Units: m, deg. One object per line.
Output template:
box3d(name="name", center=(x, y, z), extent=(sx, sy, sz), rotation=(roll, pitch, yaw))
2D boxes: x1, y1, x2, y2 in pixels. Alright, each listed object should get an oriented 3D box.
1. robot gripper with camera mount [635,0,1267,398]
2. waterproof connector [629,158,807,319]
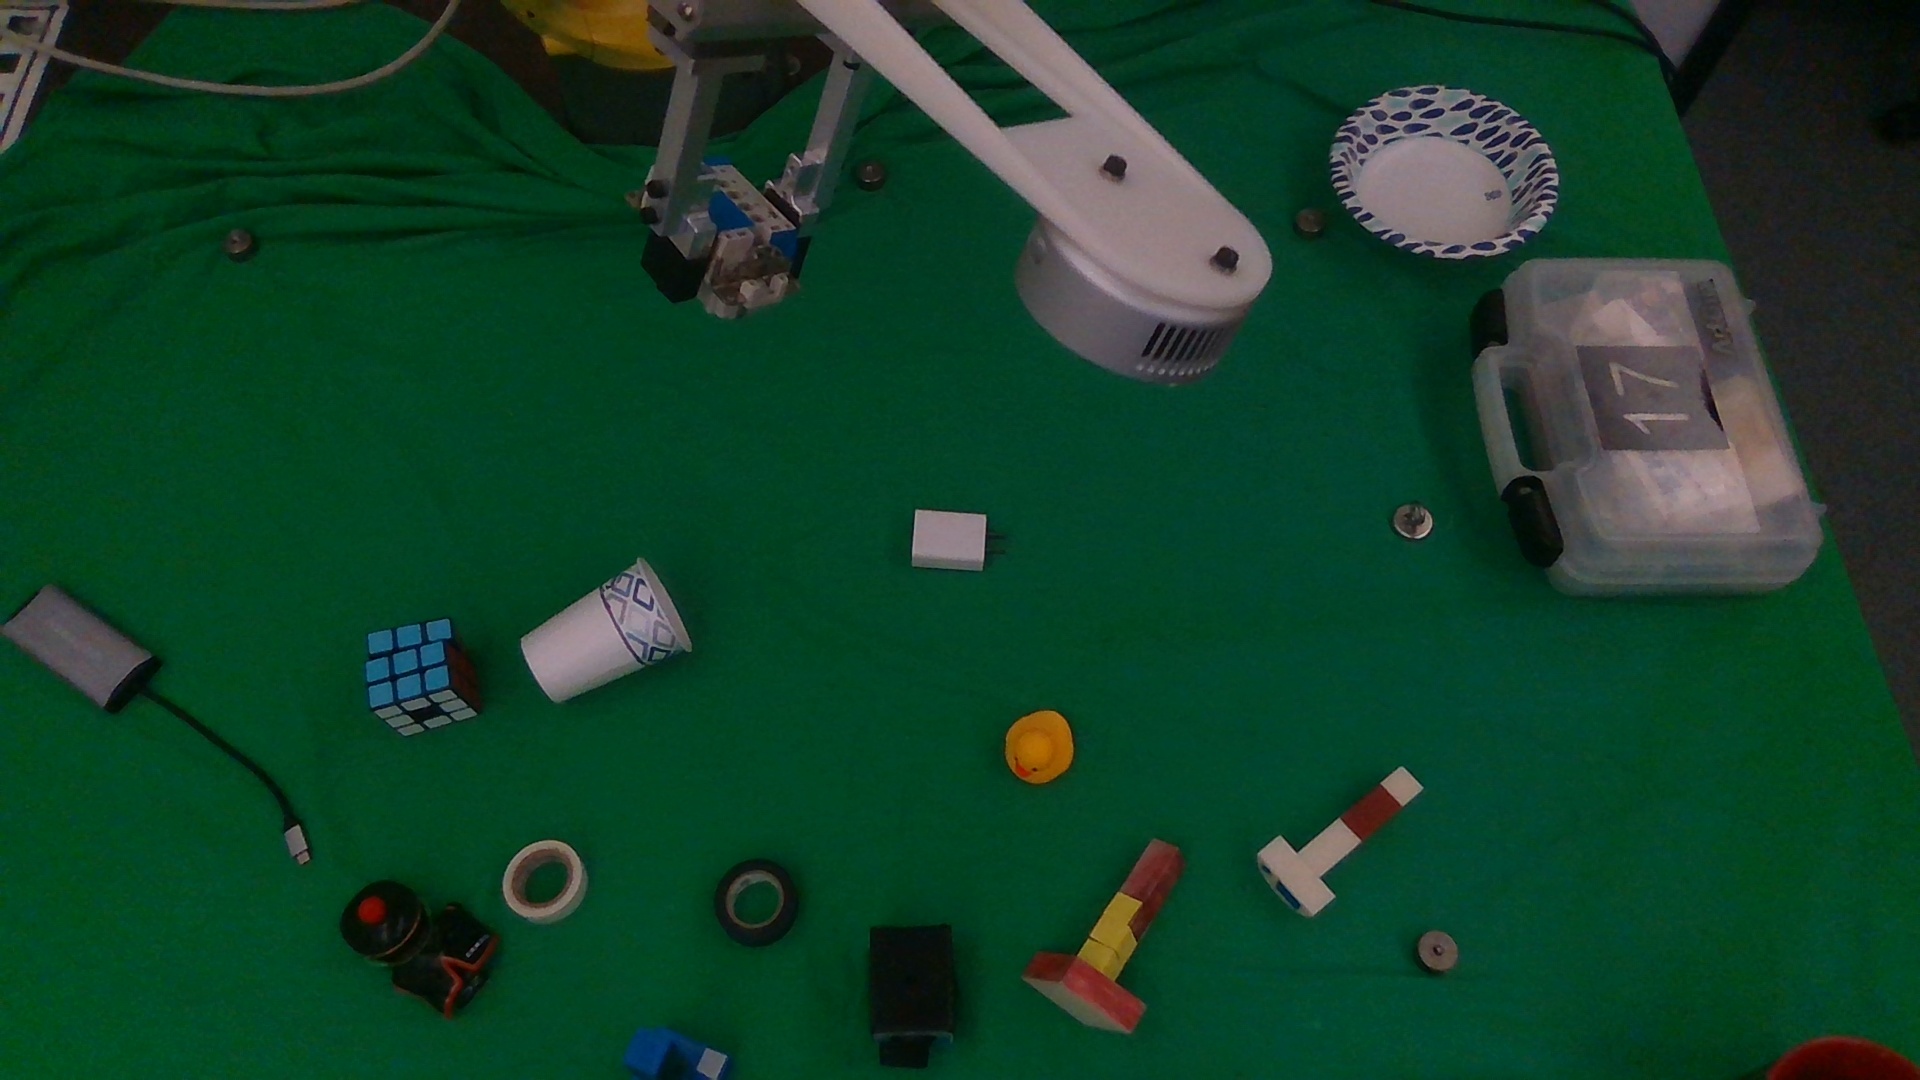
box3d(name="robot gripper with camera mount", center=(0.000, -0.098, 0.417), extent=(0.194, 0.159, 0.118), rotation=(44, 41, 17))
box3d(name="waterproof connector", center=(-0.086, -0.105, 0.488), extent=(0.034, 0.037, 0.065), rotation=(-26, 62, -39))
